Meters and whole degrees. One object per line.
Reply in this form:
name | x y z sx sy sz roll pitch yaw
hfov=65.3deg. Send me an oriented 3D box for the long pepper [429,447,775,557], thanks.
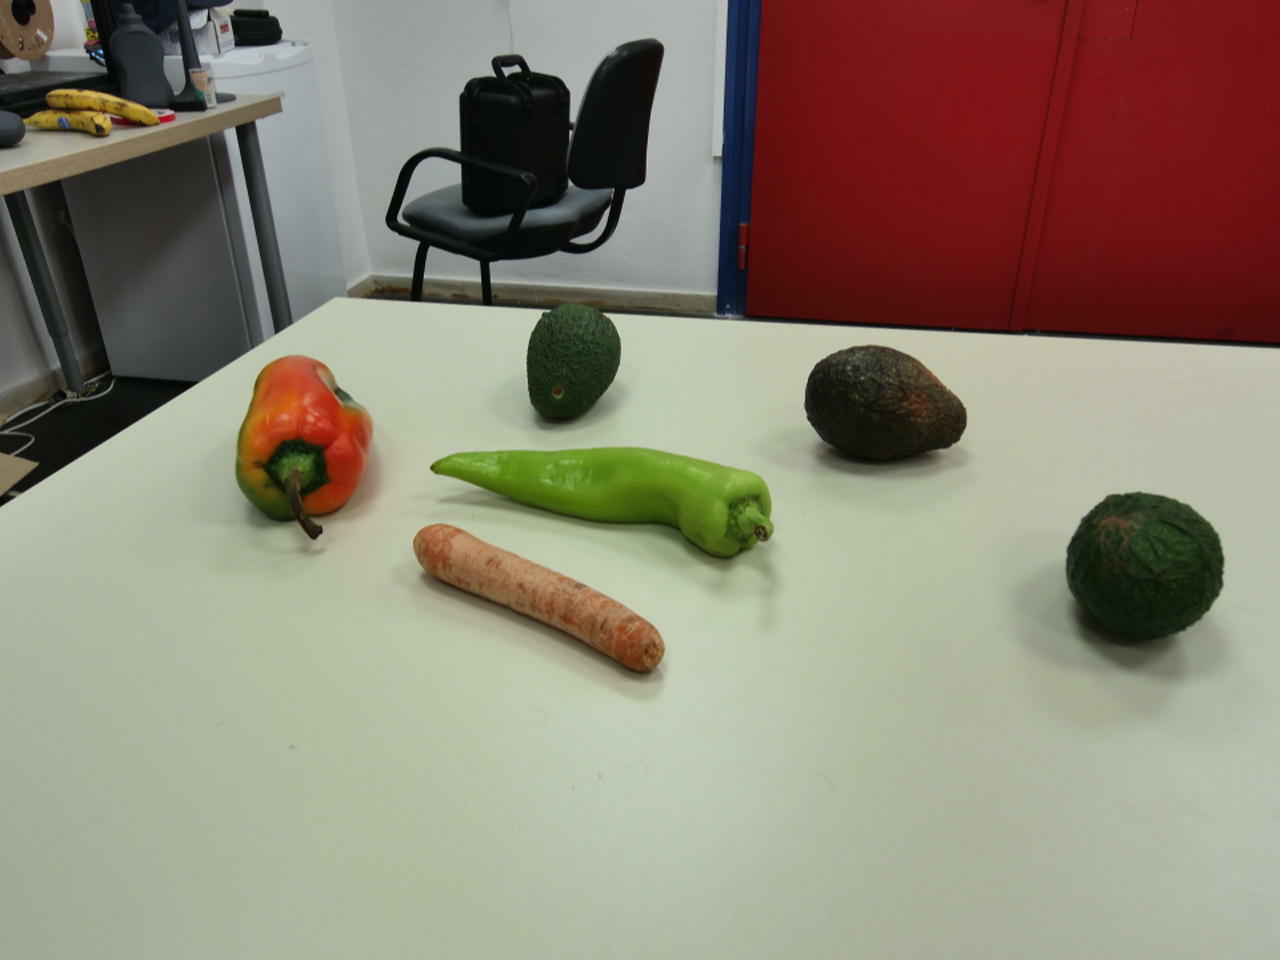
long pepper | -0.014 0.003 0.540 0.205 0.045 0.065 13 29 26
